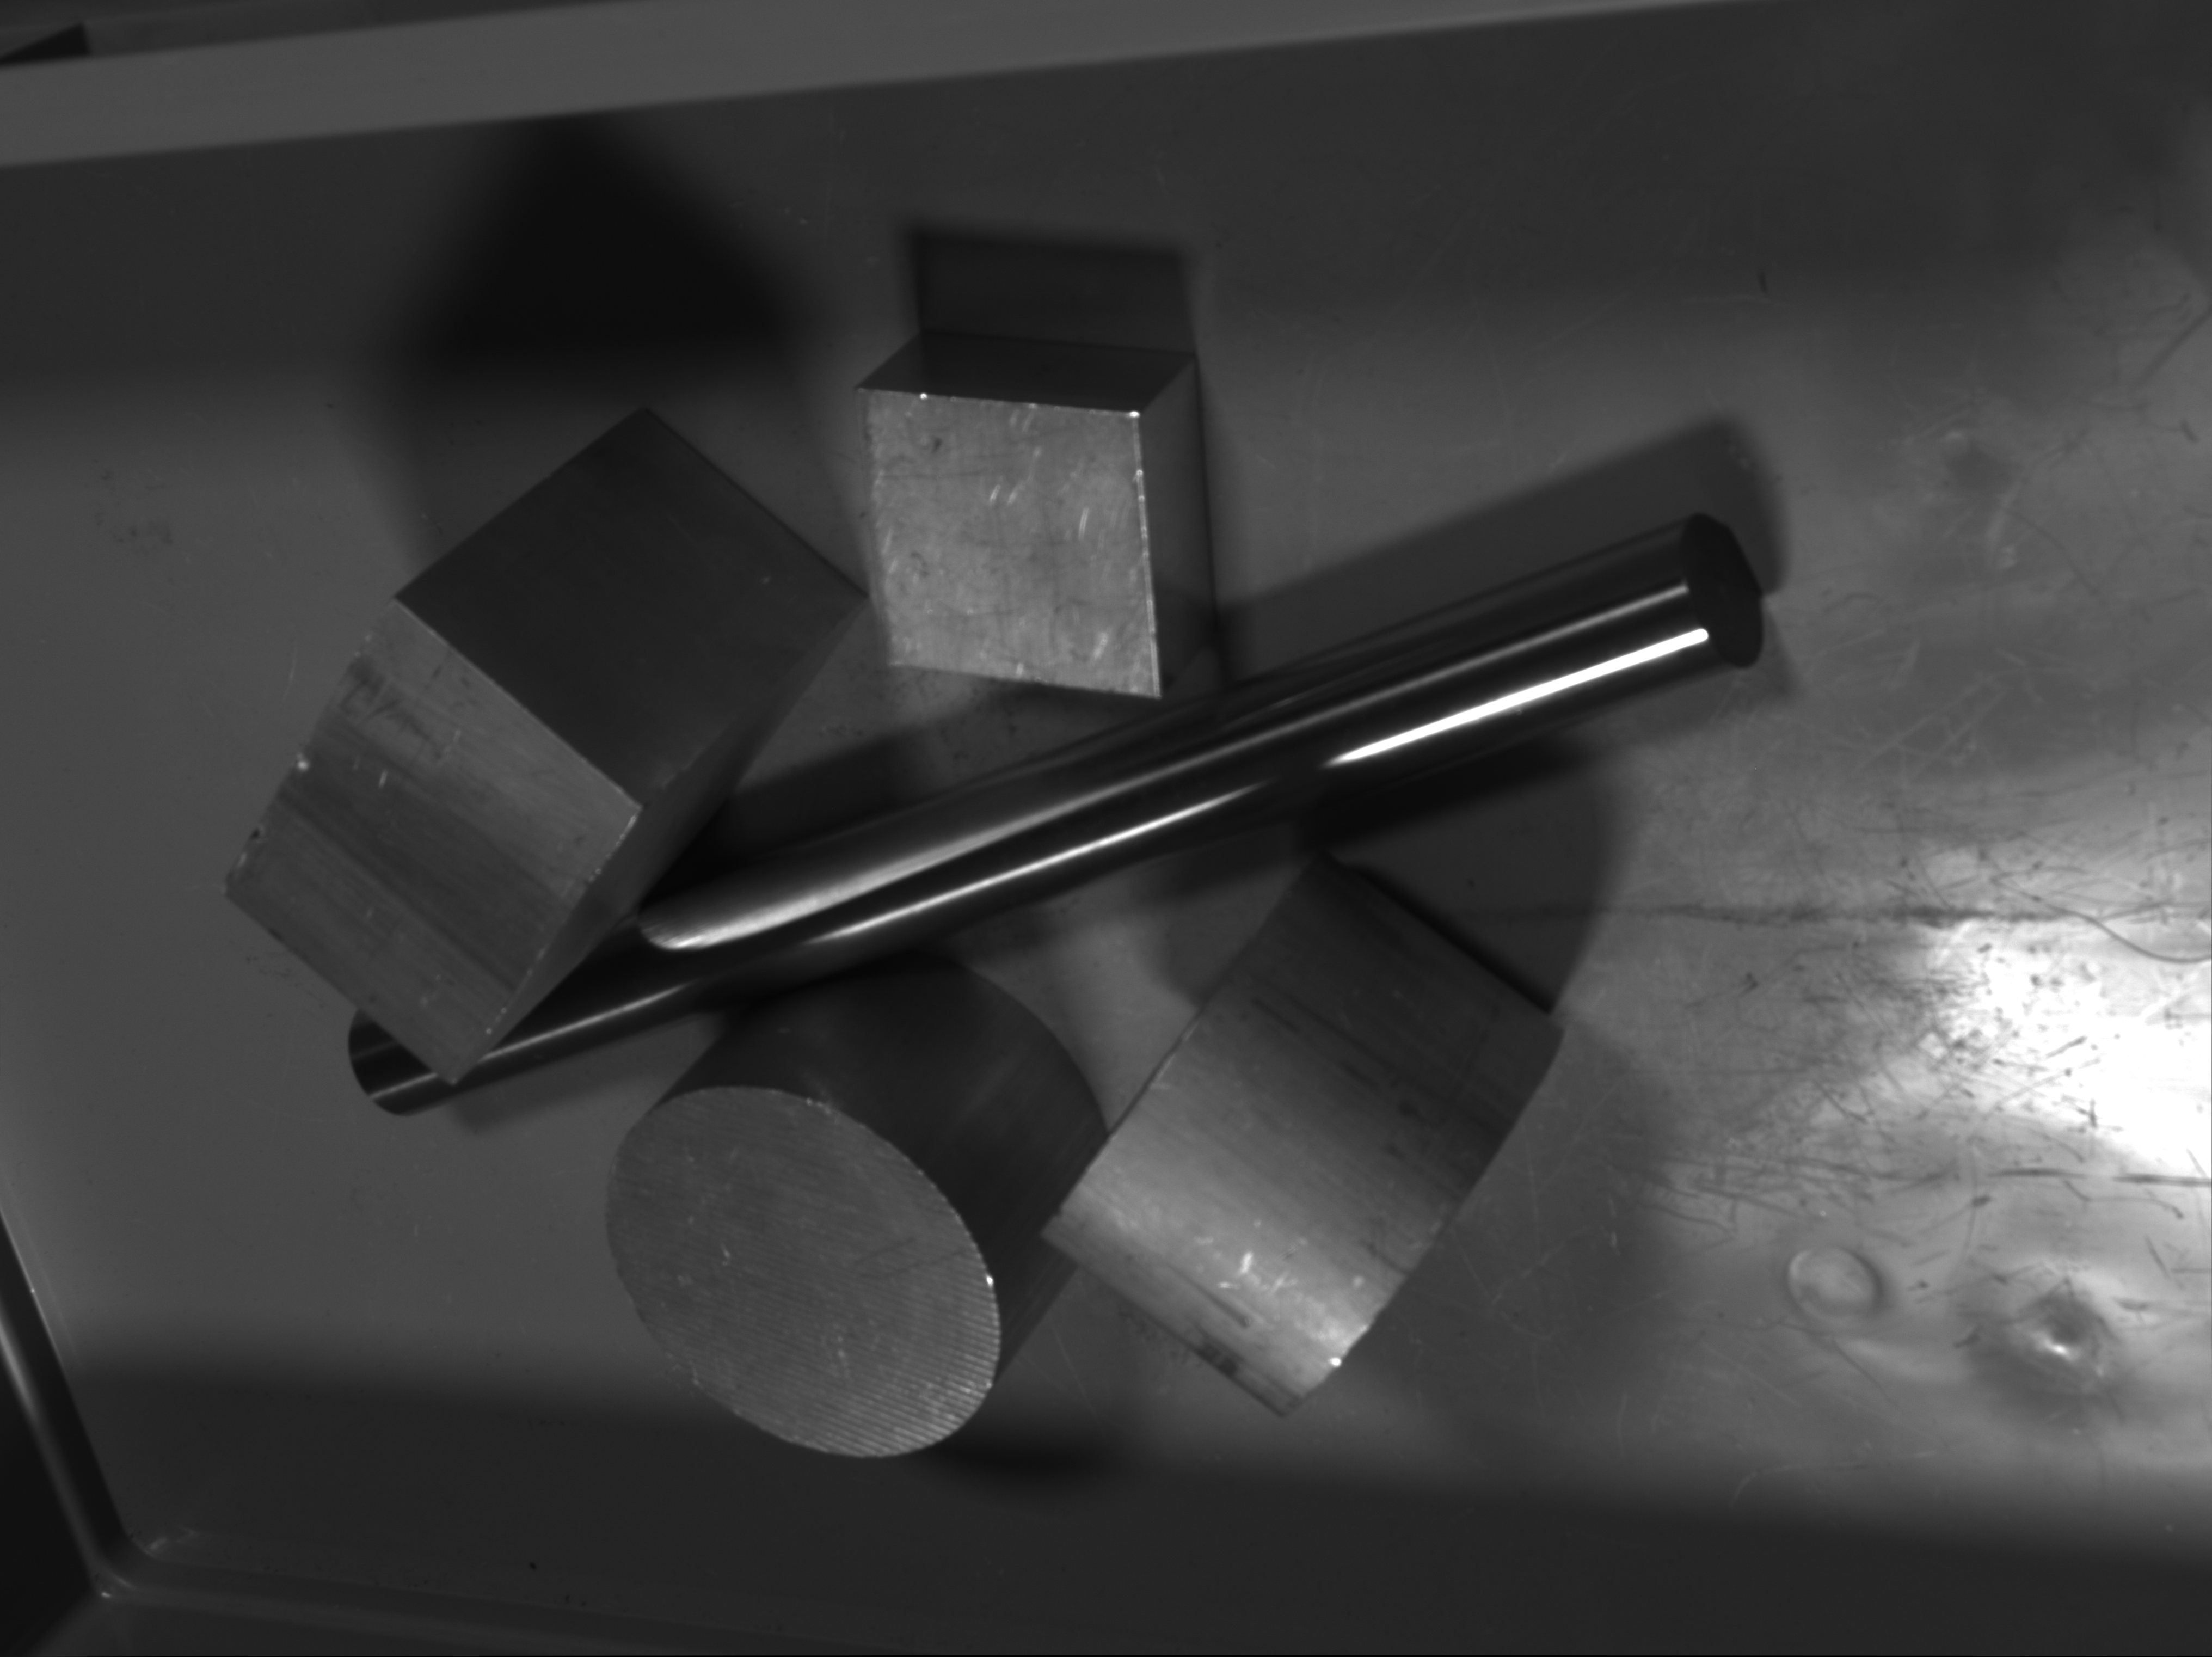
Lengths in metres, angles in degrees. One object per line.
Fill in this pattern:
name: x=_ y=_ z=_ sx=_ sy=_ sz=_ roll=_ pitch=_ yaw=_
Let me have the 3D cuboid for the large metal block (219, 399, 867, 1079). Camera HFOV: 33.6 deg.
large metal block: x=-0.097 y=-0.016 z=0.634 sx=0.050 sy=0.080 sz=0.080 roll=40 pitch=128 yaw=0

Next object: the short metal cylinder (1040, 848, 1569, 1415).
short metal cylinder: x=0.033 y=0.050 z=0.609 sx=0.050 sy=0.080 sz=0.080 roll=37 pitch=128 yaw=3

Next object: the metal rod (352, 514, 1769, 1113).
metal rod: x=-0.022 y=0.004 z=0.644 sx=0.299 sy=0.025 sz=0.025 roll=-19 pitch=109 yaw=34

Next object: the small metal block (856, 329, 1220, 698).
small metal block: x=-0.011 y=-0.052 z=0.603 sx=0.050 sy=0.025 sz=0.050 roll=8 pitch=122 yaw=22

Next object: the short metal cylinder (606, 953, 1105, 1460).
short metal cylinder: x=-0.045 y=0.069 z=0.677 sx=0.080 sy=0.050 sz=0.080 roll=12 pitch=123 yaw=20
